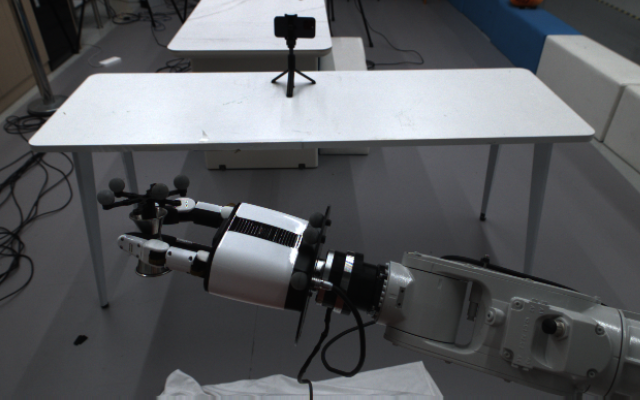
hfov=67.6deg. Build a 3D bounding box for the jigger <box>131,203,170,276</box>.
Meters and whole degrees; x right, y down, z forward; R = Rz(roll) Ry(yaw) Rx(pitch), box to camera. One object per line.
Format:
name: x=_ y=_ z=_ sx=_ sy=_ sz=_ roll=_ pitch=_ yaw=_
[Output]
jigger: x=-0.187 y=0.047 z=0.543 sx=0.043 sy=0.071 sz=0.043 roll=0 pitch=21 yaw=0
